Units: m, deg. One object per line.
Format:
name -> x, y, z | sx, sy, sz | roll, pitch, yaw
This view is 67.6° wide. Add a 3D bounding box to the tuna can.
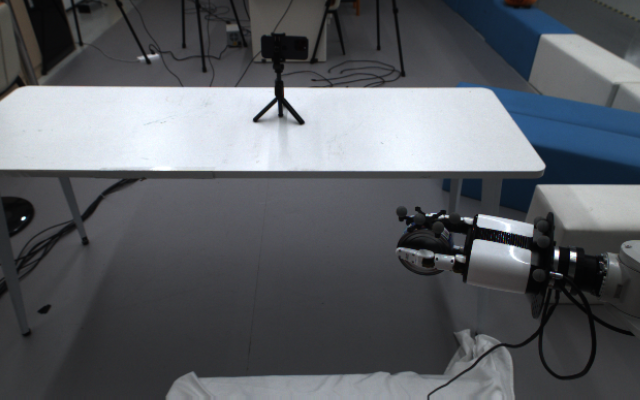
tuna can -> 0.168, 0.071, 0.762 | 0.085, 0.085, 0.034 | 13, 29, 16
